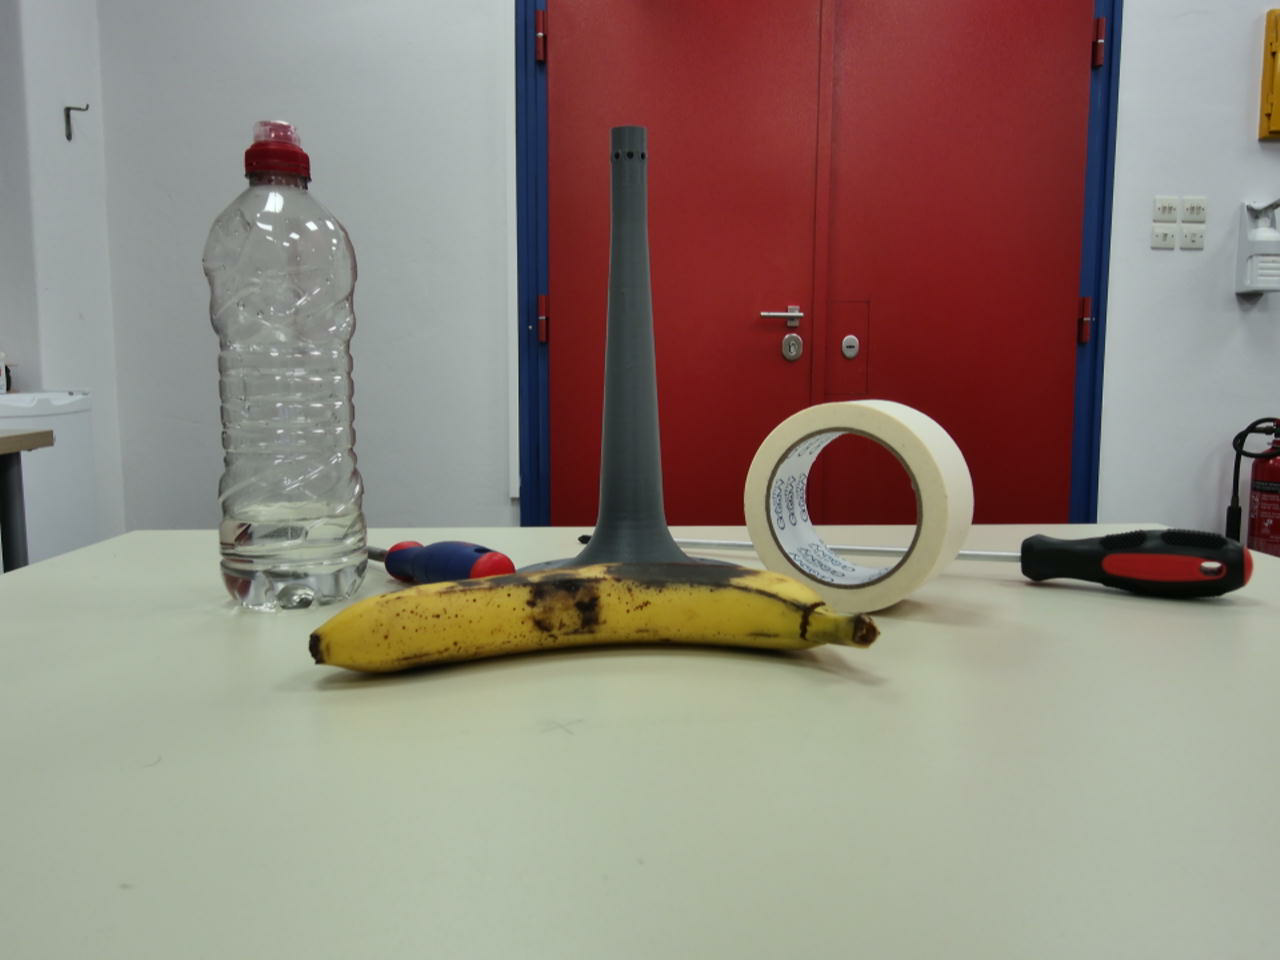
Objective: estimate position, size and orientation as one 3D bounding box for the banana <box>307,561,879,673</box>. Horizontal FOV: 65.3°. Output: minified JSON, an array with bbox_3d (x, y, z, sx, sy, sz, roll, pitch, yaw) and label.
[{"bbox_3d":[-0.019,0.058,0.424,0.222,0.037,0.084,0,4,0],"label":"banana"}]
